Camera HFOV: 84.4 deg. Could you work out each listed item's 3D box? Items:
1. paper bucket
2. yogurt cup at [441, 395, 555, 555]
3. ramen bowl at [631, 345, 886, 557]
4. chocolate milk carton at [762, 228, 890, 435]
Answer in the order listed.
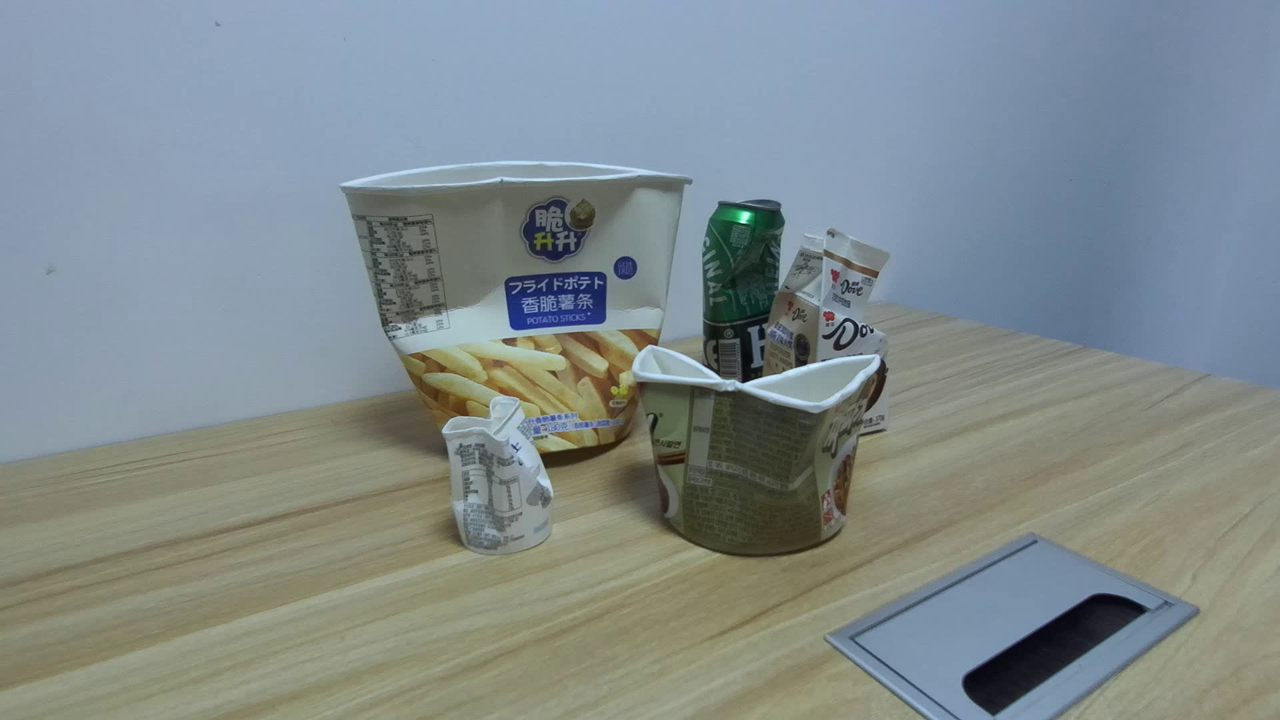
[{"bbox_3d":[-0.074,-0.040,0.519,0.147,0.199,0.219,15,24,40],"label":"paper bucket"},{"bbox_3d":[-0.079,0.064,0.397,0.055,0.072,0.055,6,20,25],"label":"yogurt cup"},{"bbox_3d":[0.061,0.043,0.415,0.128,0.093,0.112,10,21,29],"label":"ramen bowl"},{"bbox_3d":[0.142,-0.023,0.527,0.076,0.155,0.073,-8,22,-22],"label":"chocolate milk carton"}]
